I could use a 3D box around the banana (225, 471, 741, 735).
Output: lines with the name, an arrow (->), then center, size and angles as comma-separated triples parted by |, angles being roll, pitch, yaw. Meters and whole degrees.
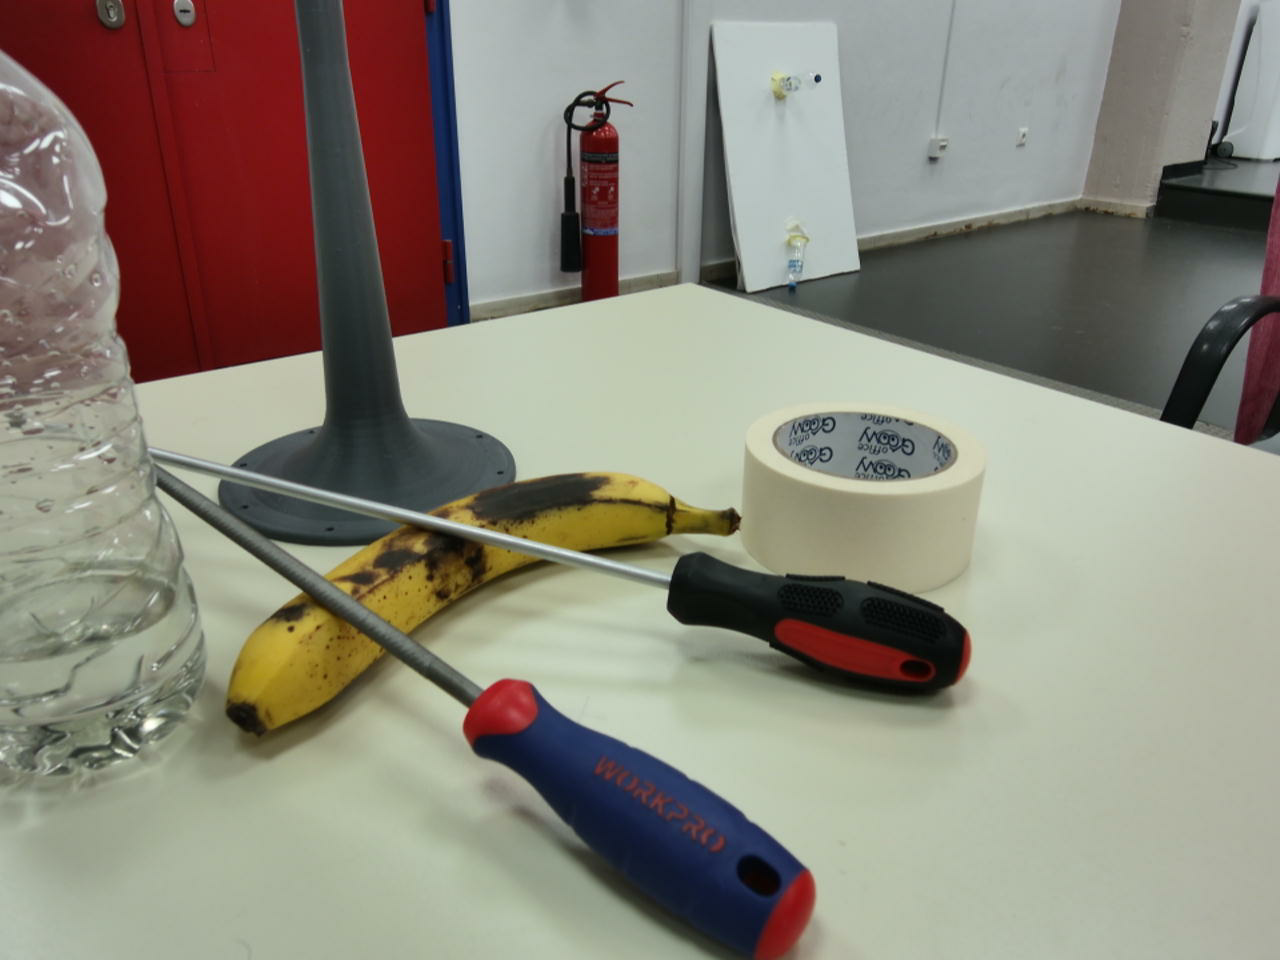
banana -> -0.064, 0.034, 0.401 | 0.222, 0.037, 0.084 | -17, 29, -36
